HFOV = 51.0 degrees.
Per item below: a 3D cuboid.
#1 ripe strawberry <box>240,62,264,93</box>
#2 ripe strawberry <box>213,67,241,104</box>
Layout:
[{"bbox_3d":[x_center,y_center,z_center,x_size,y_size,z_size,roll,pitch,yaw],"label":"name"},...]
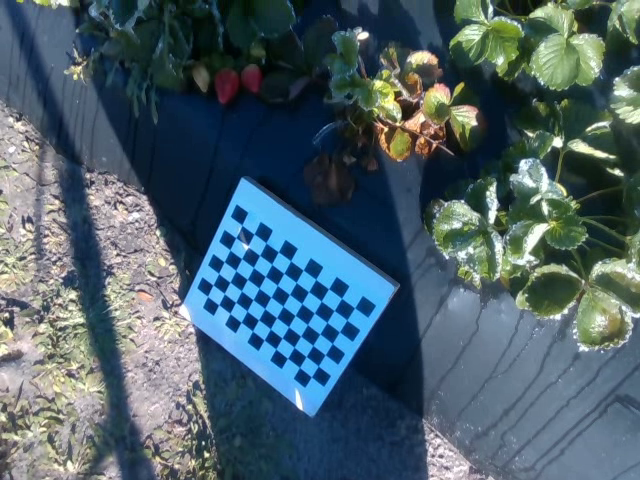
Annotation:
[{"bbox_3d":[-0.091,-0.217,0.906,0.036,0.041,0.030,-31,-6,29],"label":"ripe strawberry"},{"bbox_3d":[-0.129,-0.204,0.908,0.036,0.052,0.039,-3,-25,26],"label":"ripe strawberry"}]
